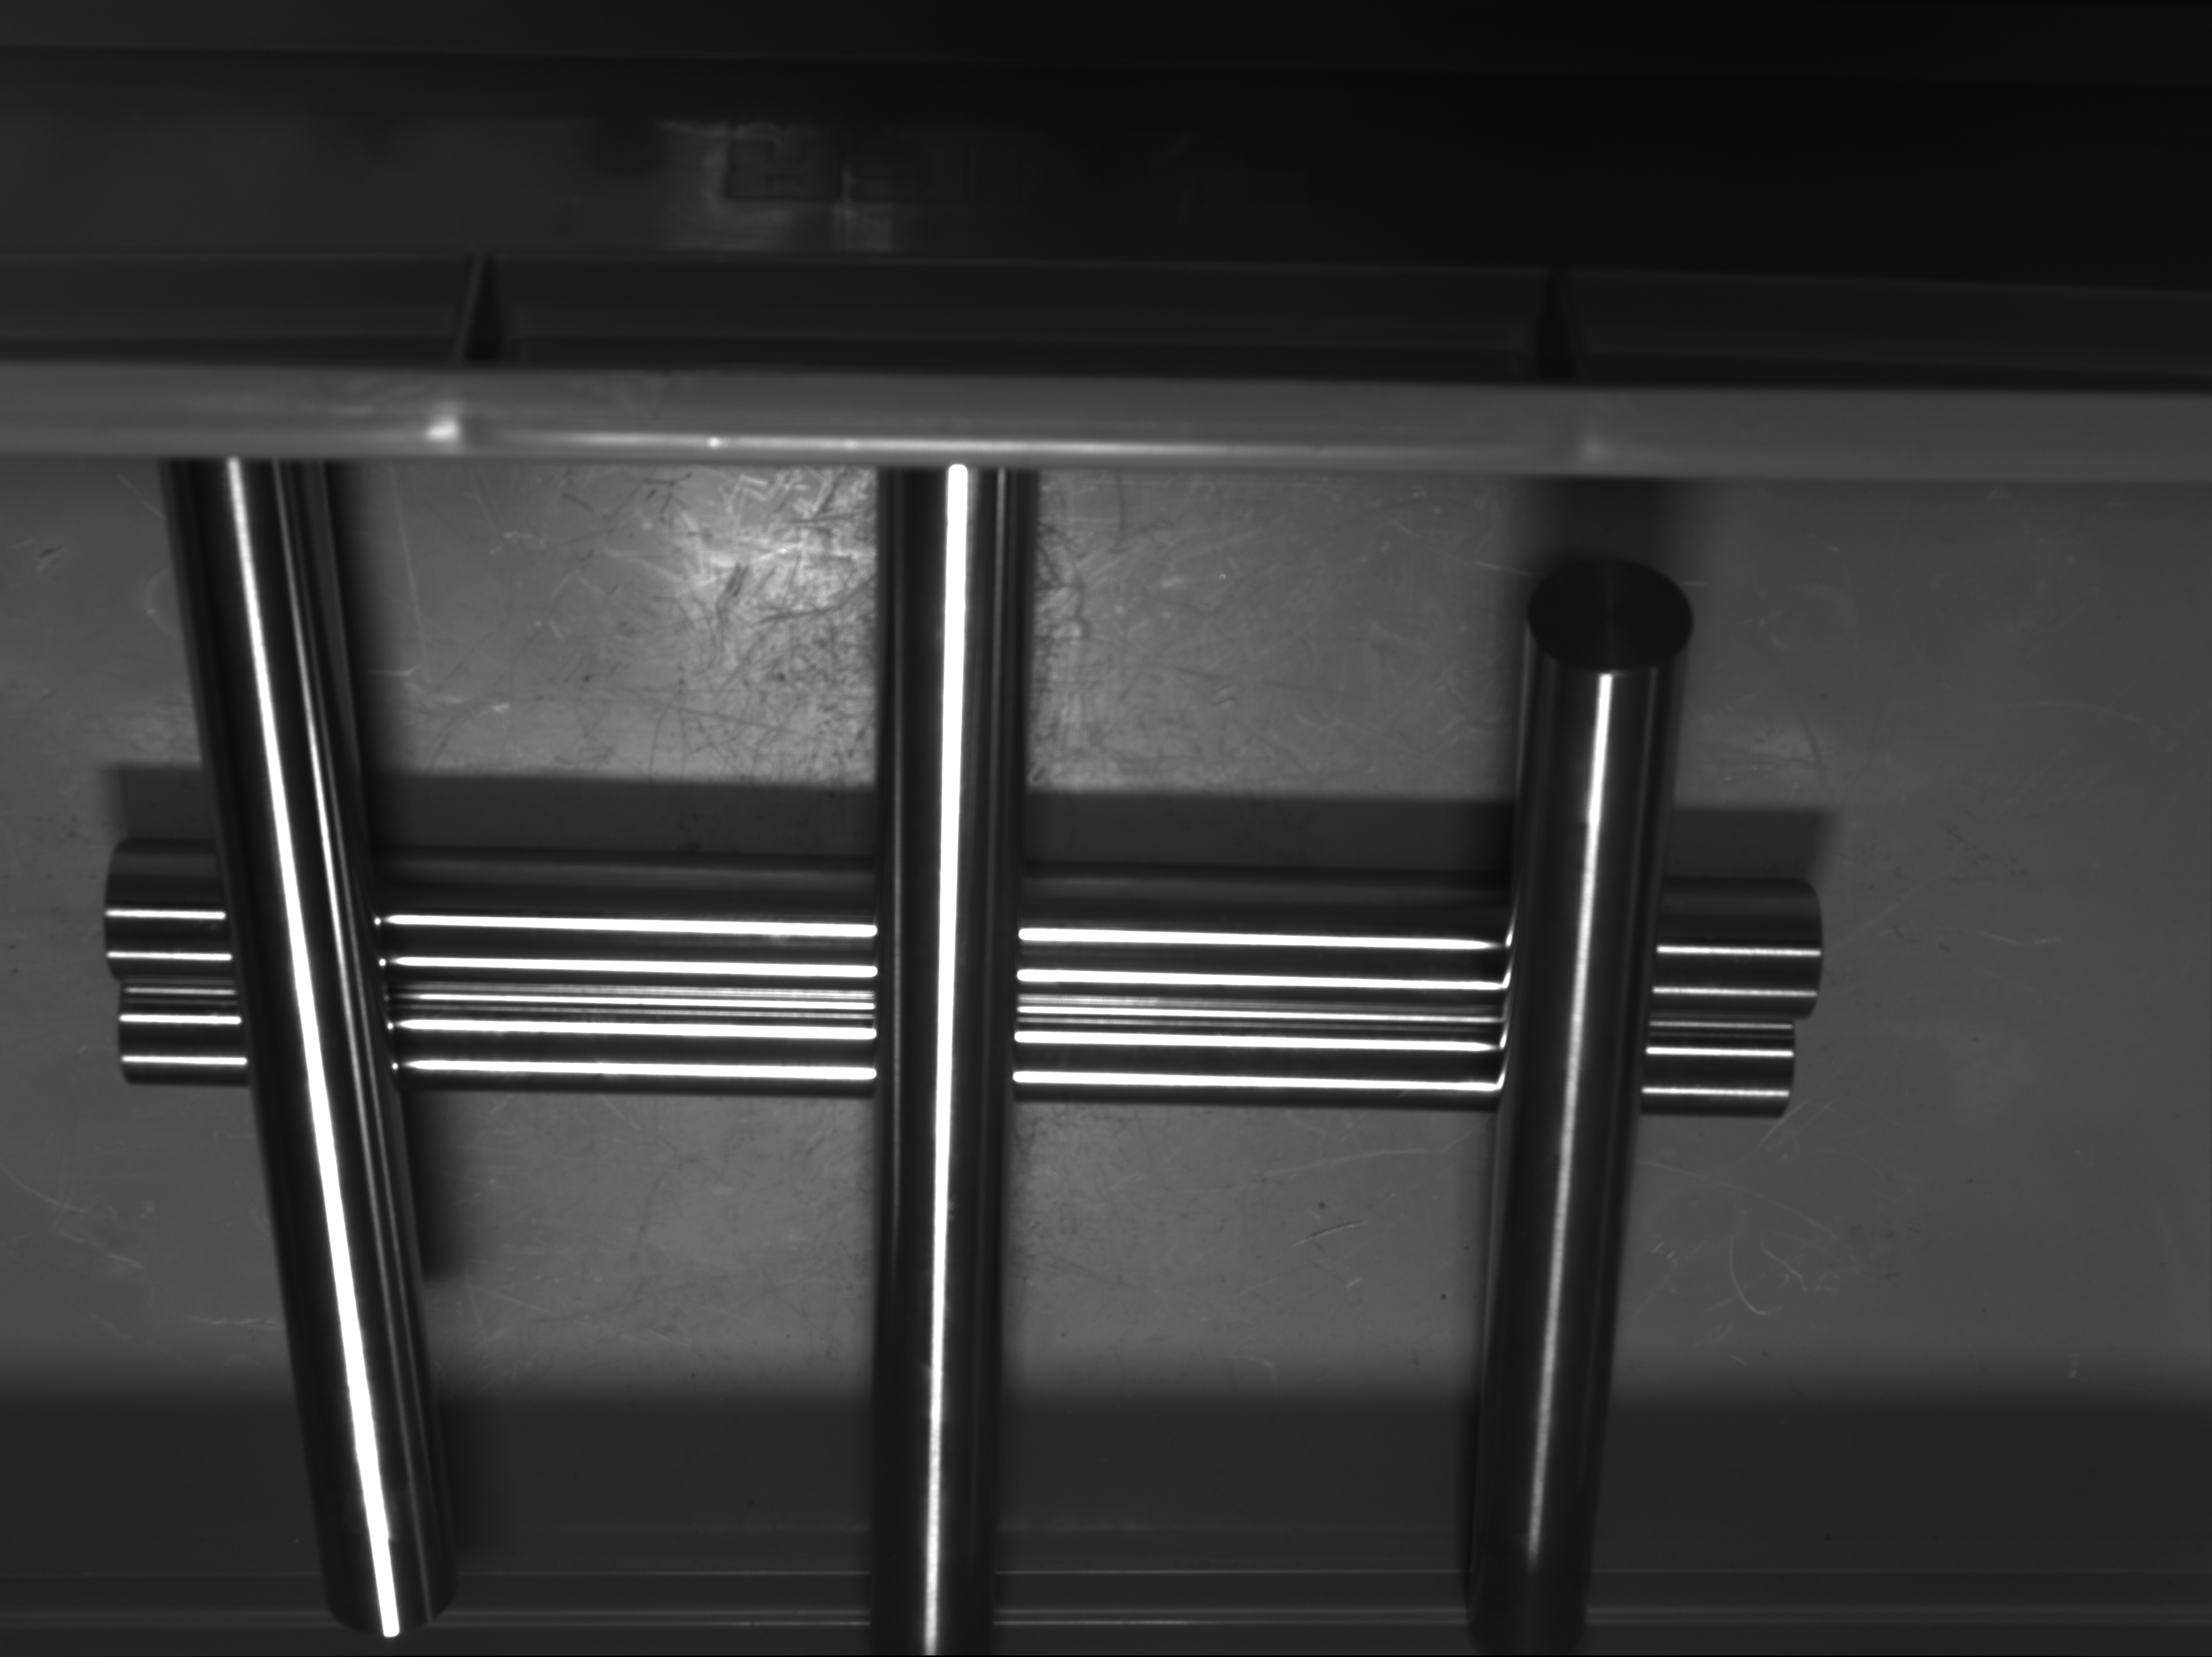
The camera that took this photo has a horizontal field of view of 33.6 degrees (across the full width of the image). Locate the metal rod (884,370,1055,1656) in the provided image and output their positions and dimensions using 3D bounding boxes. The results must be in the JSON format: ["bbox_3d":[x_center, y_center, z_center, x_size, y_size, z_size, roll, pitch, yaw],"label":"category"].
[{"bbox_3d":[-0.026,0.053,0.648,0.025,0.025,0.300,1,130,-3],"label":"metal rod"}]

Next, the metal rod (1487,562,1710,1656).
[{"bbox_3d":[0.086,0.068,0.668,0.025,0.025,0.300,-3,138,1],"label":"metal rod"}]

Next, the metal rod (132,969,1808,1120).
[{"bbox_3d":[-0.023,0.038,0.668,0.300,0.025,0.025,1,130,-3],"label":"metal rod"}]

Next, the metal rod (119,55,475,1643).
[{"bbox_3d":[-0.132,0.018,0.617,0.025,0.025,0.300,-1,122,-1],"label":"metal rod"}]

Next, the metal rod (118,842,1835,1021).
[{"bbox_3d":[-0.021,0.019,0.653,0.300,0.025,0.025,1,130,-3],"label":"metal rod"}]
